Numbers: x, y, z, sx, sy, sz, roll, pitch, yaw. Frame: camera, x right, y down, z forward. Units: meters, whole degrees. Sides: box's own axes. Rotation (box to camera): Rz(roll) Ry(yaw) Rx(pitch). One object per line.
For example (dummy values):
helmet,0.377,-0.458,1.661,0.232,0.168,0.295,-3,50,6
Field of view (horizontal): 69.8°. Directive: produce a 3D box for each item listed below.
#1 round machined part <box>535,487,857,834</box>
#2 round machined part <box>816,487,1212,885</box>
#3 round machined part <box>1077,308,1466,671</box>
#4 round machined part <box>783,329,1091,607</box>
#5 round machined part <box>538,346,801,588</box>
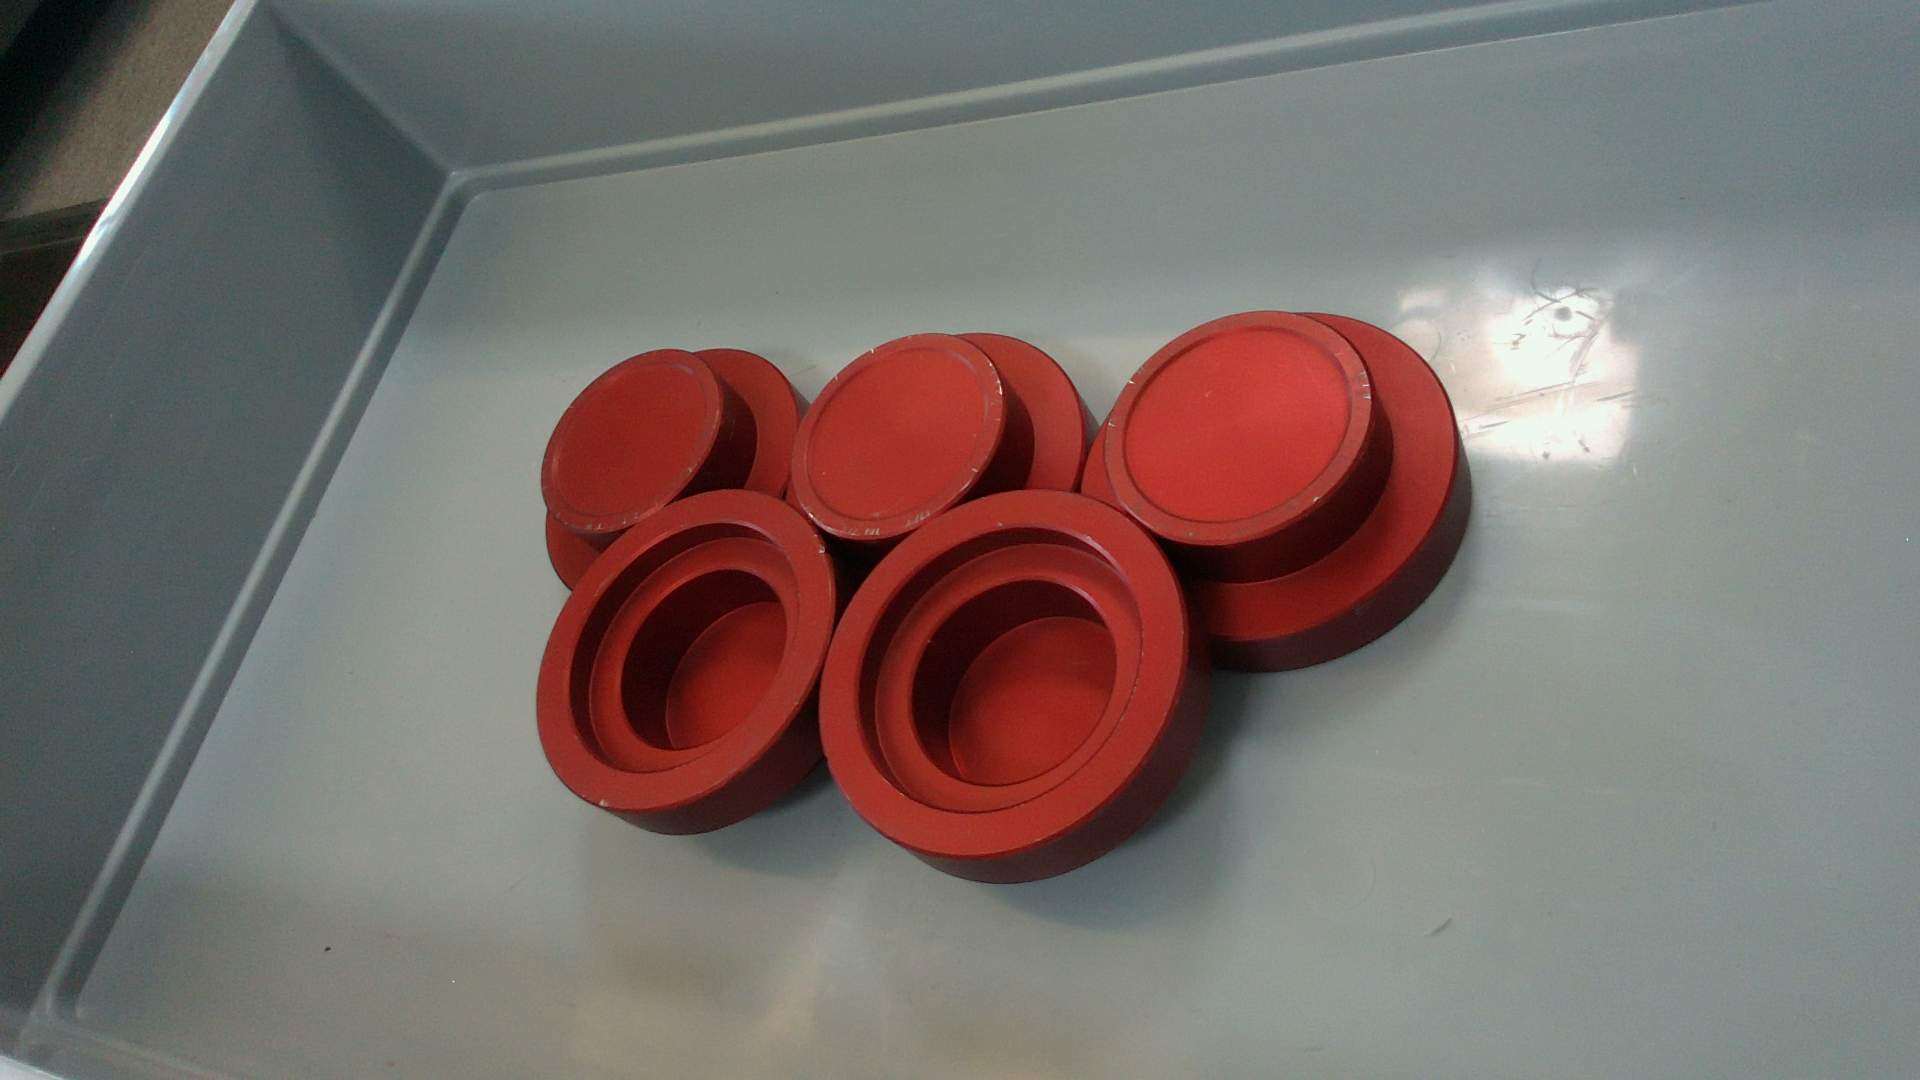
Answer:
round machined part,-0.069,0.037,0.395,0.098,0.042,0.098,-13,56,21
round machined part,0.016,0.039,0.348,0.098,0.042,0.098,-13,56,21
round machined part,0.075,-0.020,0.351,0.098,0.042,0.098,-14,55,21
round machined part,-0.011,-0.022,0.400,0.098,0.042,0.098,-14,55,21
round machined part,-0.096,-0.023,0.446,0.098,0.042,0.098,-13,55,20
